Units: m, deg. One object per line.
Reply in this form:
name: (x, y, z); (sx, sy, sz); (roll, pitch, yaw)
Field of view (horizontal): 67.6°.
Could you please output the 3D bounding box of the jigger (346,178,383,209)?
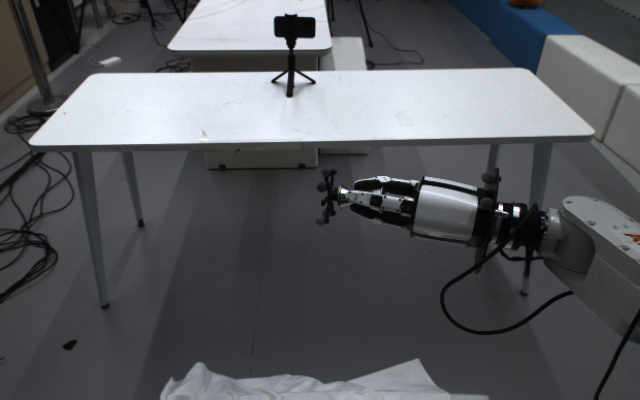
jigger: (0.071, -0.006, 0.757); (0.071, 0.043, 0.043); (4, 34, 15)
